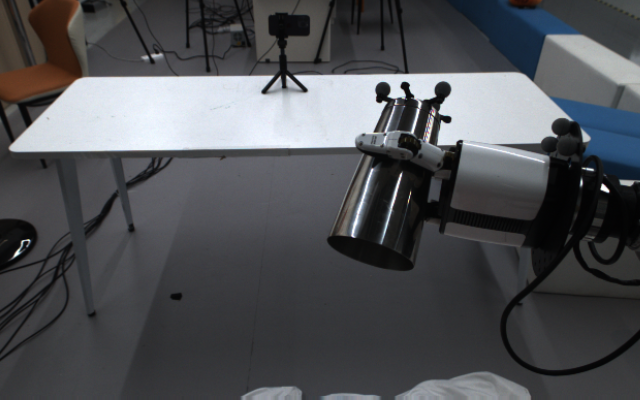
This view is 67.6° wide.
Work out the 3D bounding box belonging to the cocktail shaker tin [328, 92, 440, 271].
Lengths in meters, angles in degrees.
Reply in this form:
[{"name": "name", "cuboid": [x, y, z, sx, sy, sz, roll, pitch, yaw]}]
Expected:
[{"name": "cocktail shaker tin", "cuboid": [0.078, -0.021, 0.517, 0.093, 0.093, 0.170, 13, 70, 16]}]
